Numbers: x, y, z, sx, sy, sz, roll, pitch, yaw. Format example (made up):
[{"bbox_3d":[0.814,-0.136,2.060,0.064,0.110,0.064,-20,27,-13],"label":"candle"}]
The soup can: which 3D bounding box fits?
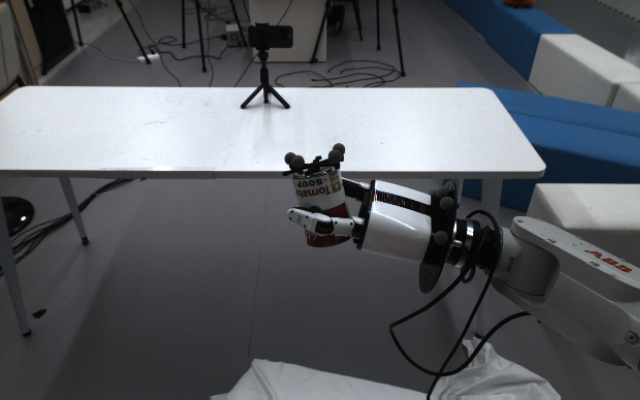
[{"bbox_3d":[0.005,0.005,0.663,0.067,0.101,0.067,-12,17,4],"label":"soup can"}]
